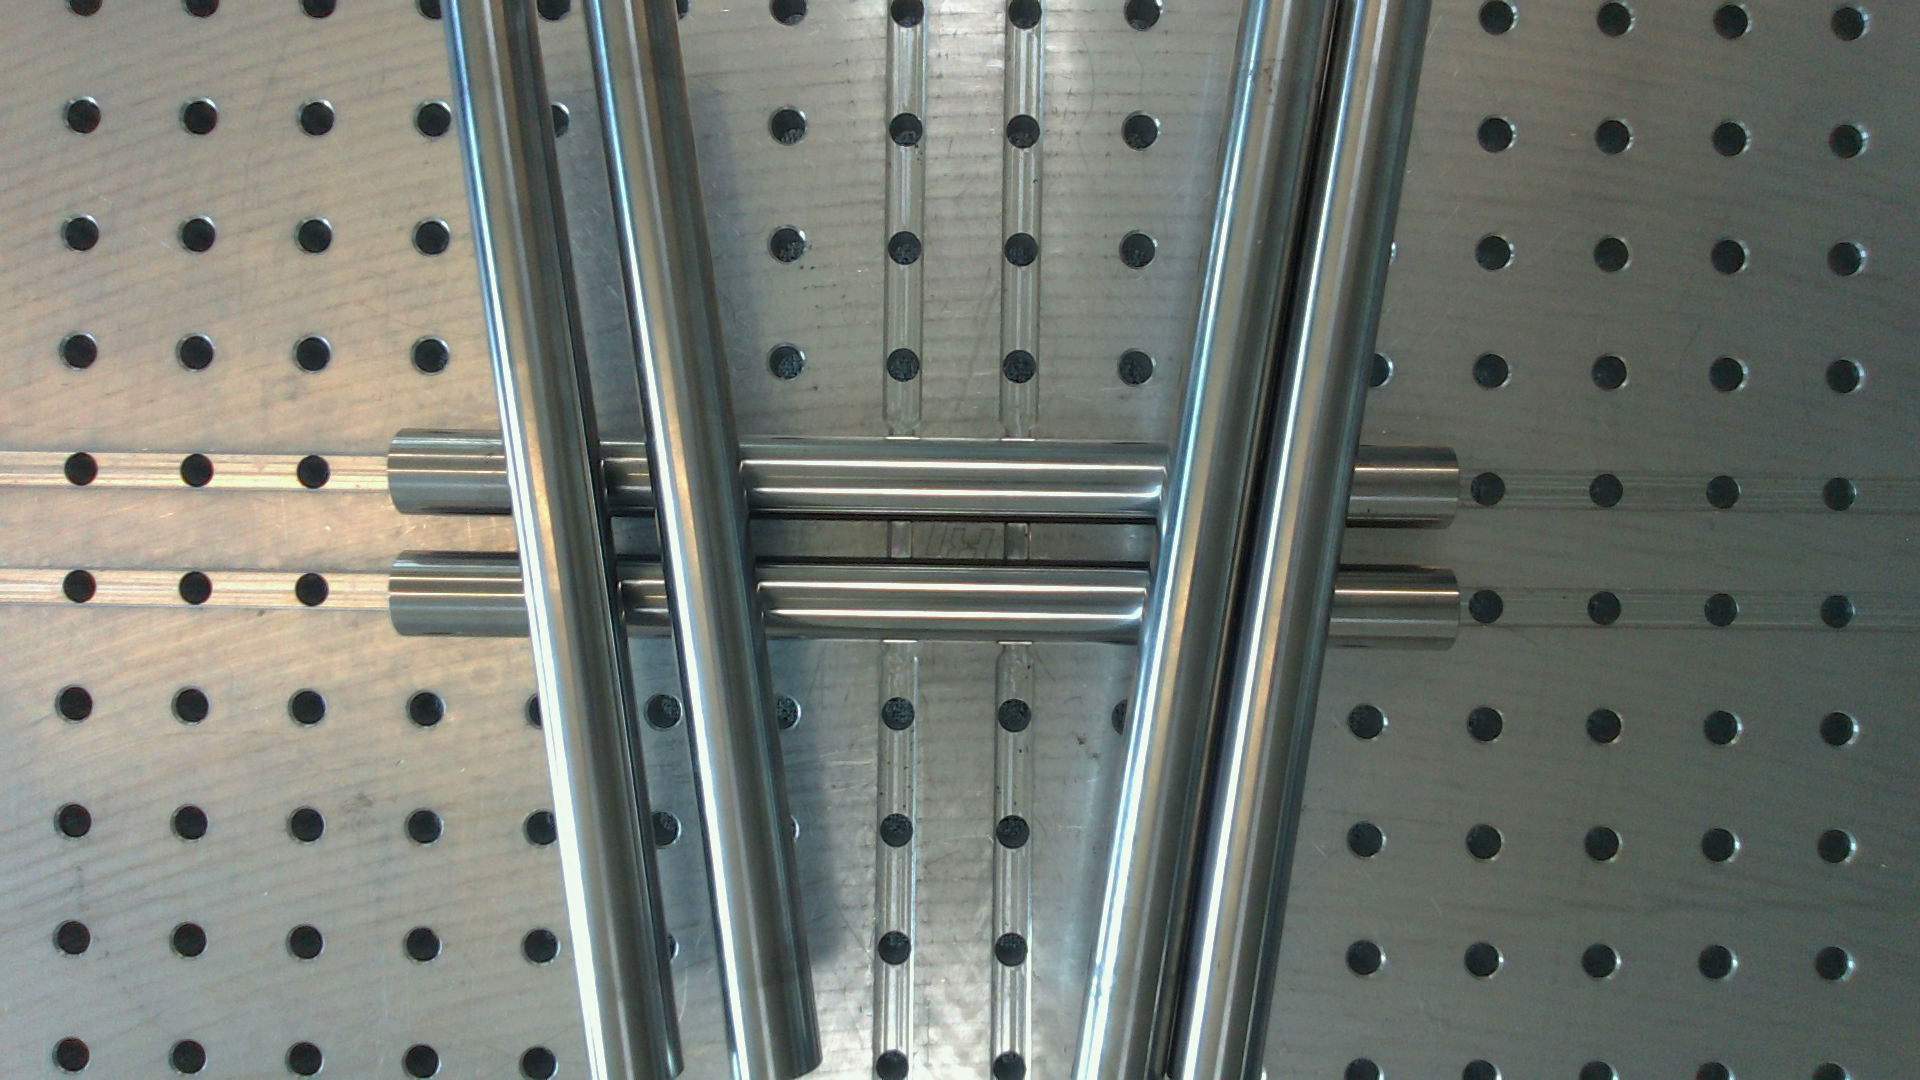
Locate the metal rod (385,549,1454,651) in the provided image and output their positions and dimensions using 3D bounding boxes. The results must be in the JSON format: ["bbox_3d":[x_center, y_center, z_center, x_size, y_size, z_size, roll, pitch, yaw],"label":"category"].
[{"bbox_3d":[-0.011,0.017,0.398,0.300,0.025,0.025,1,90,0],"label":"metal rod"}]

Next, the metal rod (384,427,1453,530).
[{"bbox_3d":[-0.011,-0.018,0.398,0.300,0.025,0.025,1,90,0],"label":"metal rod"}]

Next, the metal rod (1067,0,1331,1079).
[{"bbox_3d":[0.065,-0.001,0.374,0.025,0.025,0.300,9,90,0],"label":"metal rod"}]

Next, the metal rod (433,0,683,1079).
[{"bbox_3d":[-0.109,-0.003,0.373,0.025,0.025,0.300,-8,90,0],"label":"metal rod"}]

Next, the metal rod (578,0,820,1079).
[{"bbox_3d":[-0.071,-0.006,0.373,0.025,0.025,0.300,-8,90,0],"label":"metal rod"}]

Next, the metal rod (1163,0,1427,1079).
[{"bbox_3d":[0.091,-0.001,0.374,0.025,0.025,0.300,9,90,0],"label":"metal rod"}]
